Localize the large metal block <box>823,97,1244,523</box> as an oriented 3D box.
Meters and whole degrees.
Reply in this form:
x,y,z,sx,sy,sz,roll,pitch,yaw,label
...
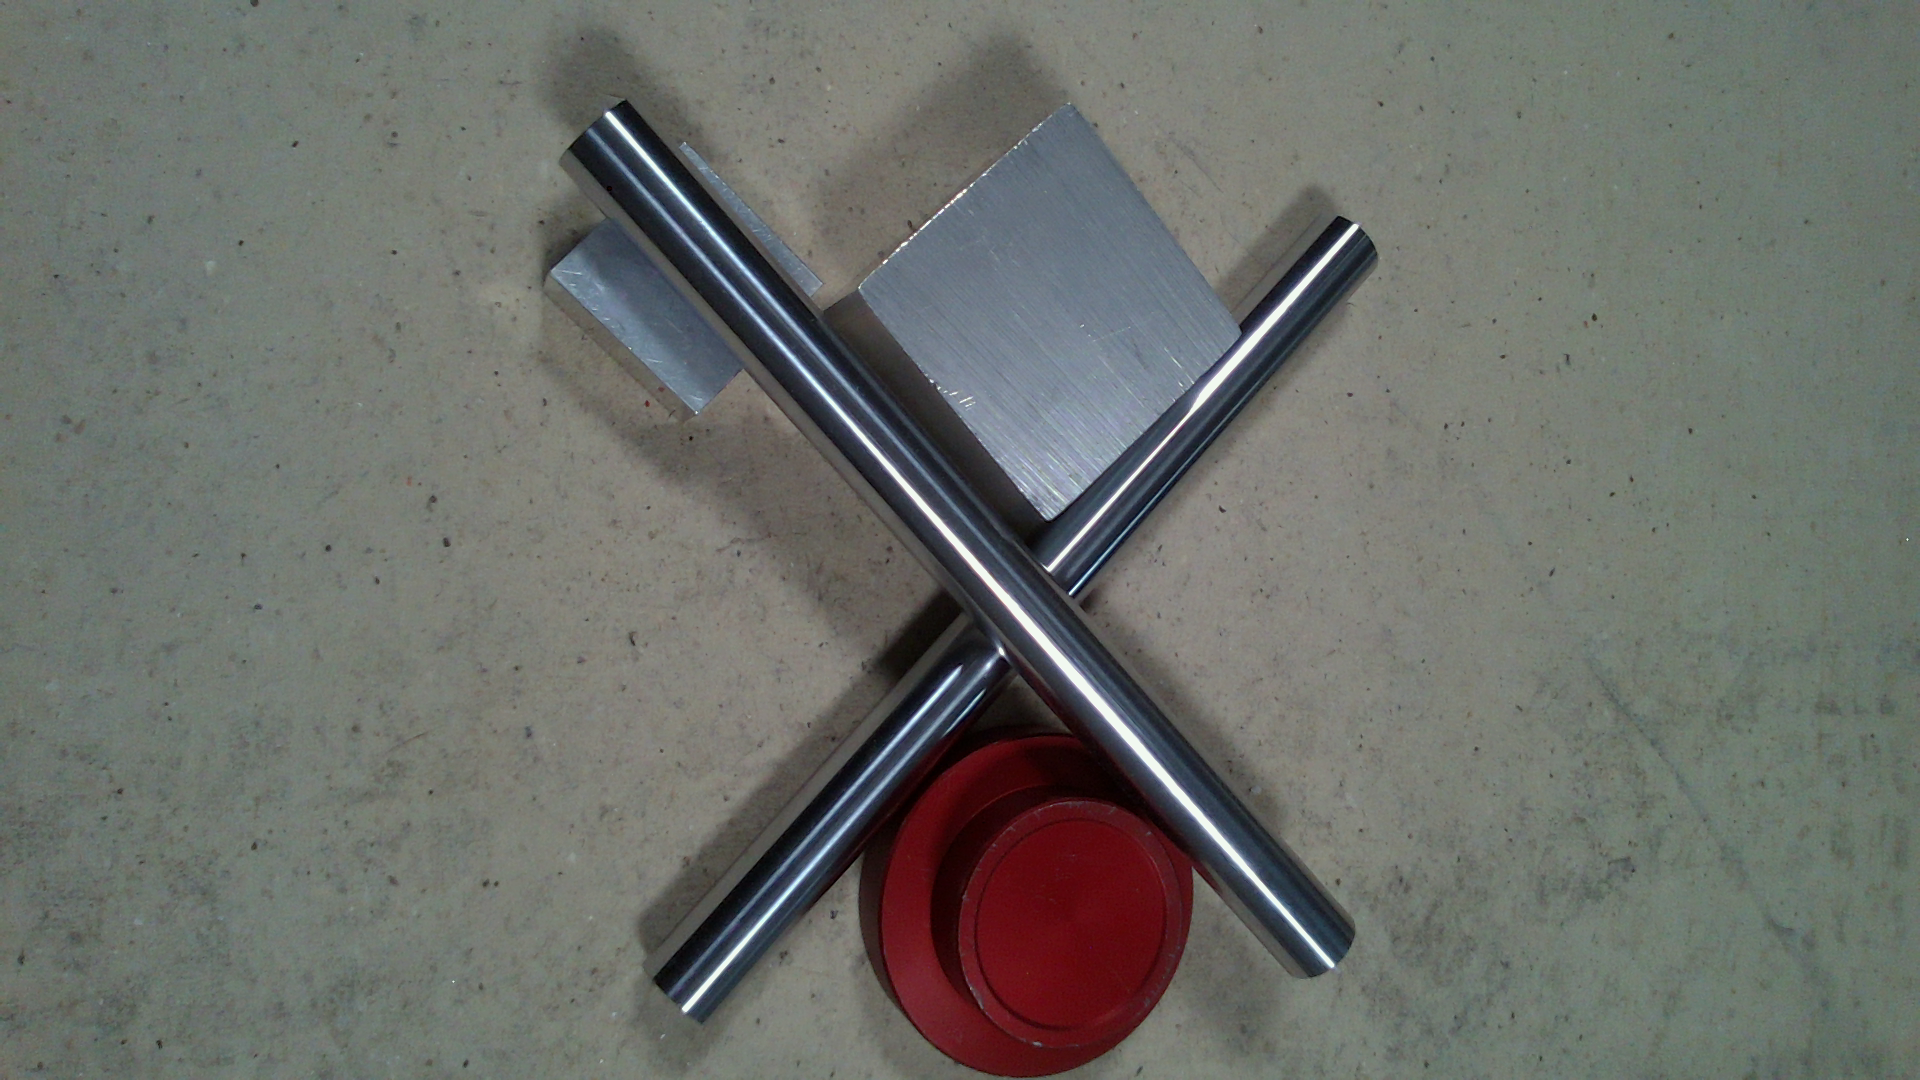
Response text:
x,y,z,sx,sy,sz,roll,pitch,yaw,label
0.018,-0.061,0.388,0.080,0.050,0.080,-44,104,-15,large metal block

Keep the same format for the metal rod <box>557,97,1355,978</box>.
x,y,z,sx,sy,sz,roll,pitch,yaw,label
0.009,0.010,0.370,0.025,0.025,0.300,-45,104,-14,metal rod

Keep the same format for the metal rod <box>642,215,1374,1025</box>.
x,y,z,sx,sy,sz,roll,pitch,yaw,label
0.023,0.014,0.403,0.025,0.025,0.300,46,76,-14,metal rod

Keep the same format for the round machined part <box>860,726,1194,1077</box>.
x,y,z,sx,sy,sz,roll,pitch,yaw,label
0.024,0.104,0.393,0.098,0.042,0.098,0,90,-20,round machined part

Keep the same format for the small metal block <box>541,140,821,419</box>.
x,y,z,sx,sy,sz,roll,pitch,yaw,label
-0.075,-0.068,0.367,0.050,0.025,0.050,45,76,-15,small metal block
